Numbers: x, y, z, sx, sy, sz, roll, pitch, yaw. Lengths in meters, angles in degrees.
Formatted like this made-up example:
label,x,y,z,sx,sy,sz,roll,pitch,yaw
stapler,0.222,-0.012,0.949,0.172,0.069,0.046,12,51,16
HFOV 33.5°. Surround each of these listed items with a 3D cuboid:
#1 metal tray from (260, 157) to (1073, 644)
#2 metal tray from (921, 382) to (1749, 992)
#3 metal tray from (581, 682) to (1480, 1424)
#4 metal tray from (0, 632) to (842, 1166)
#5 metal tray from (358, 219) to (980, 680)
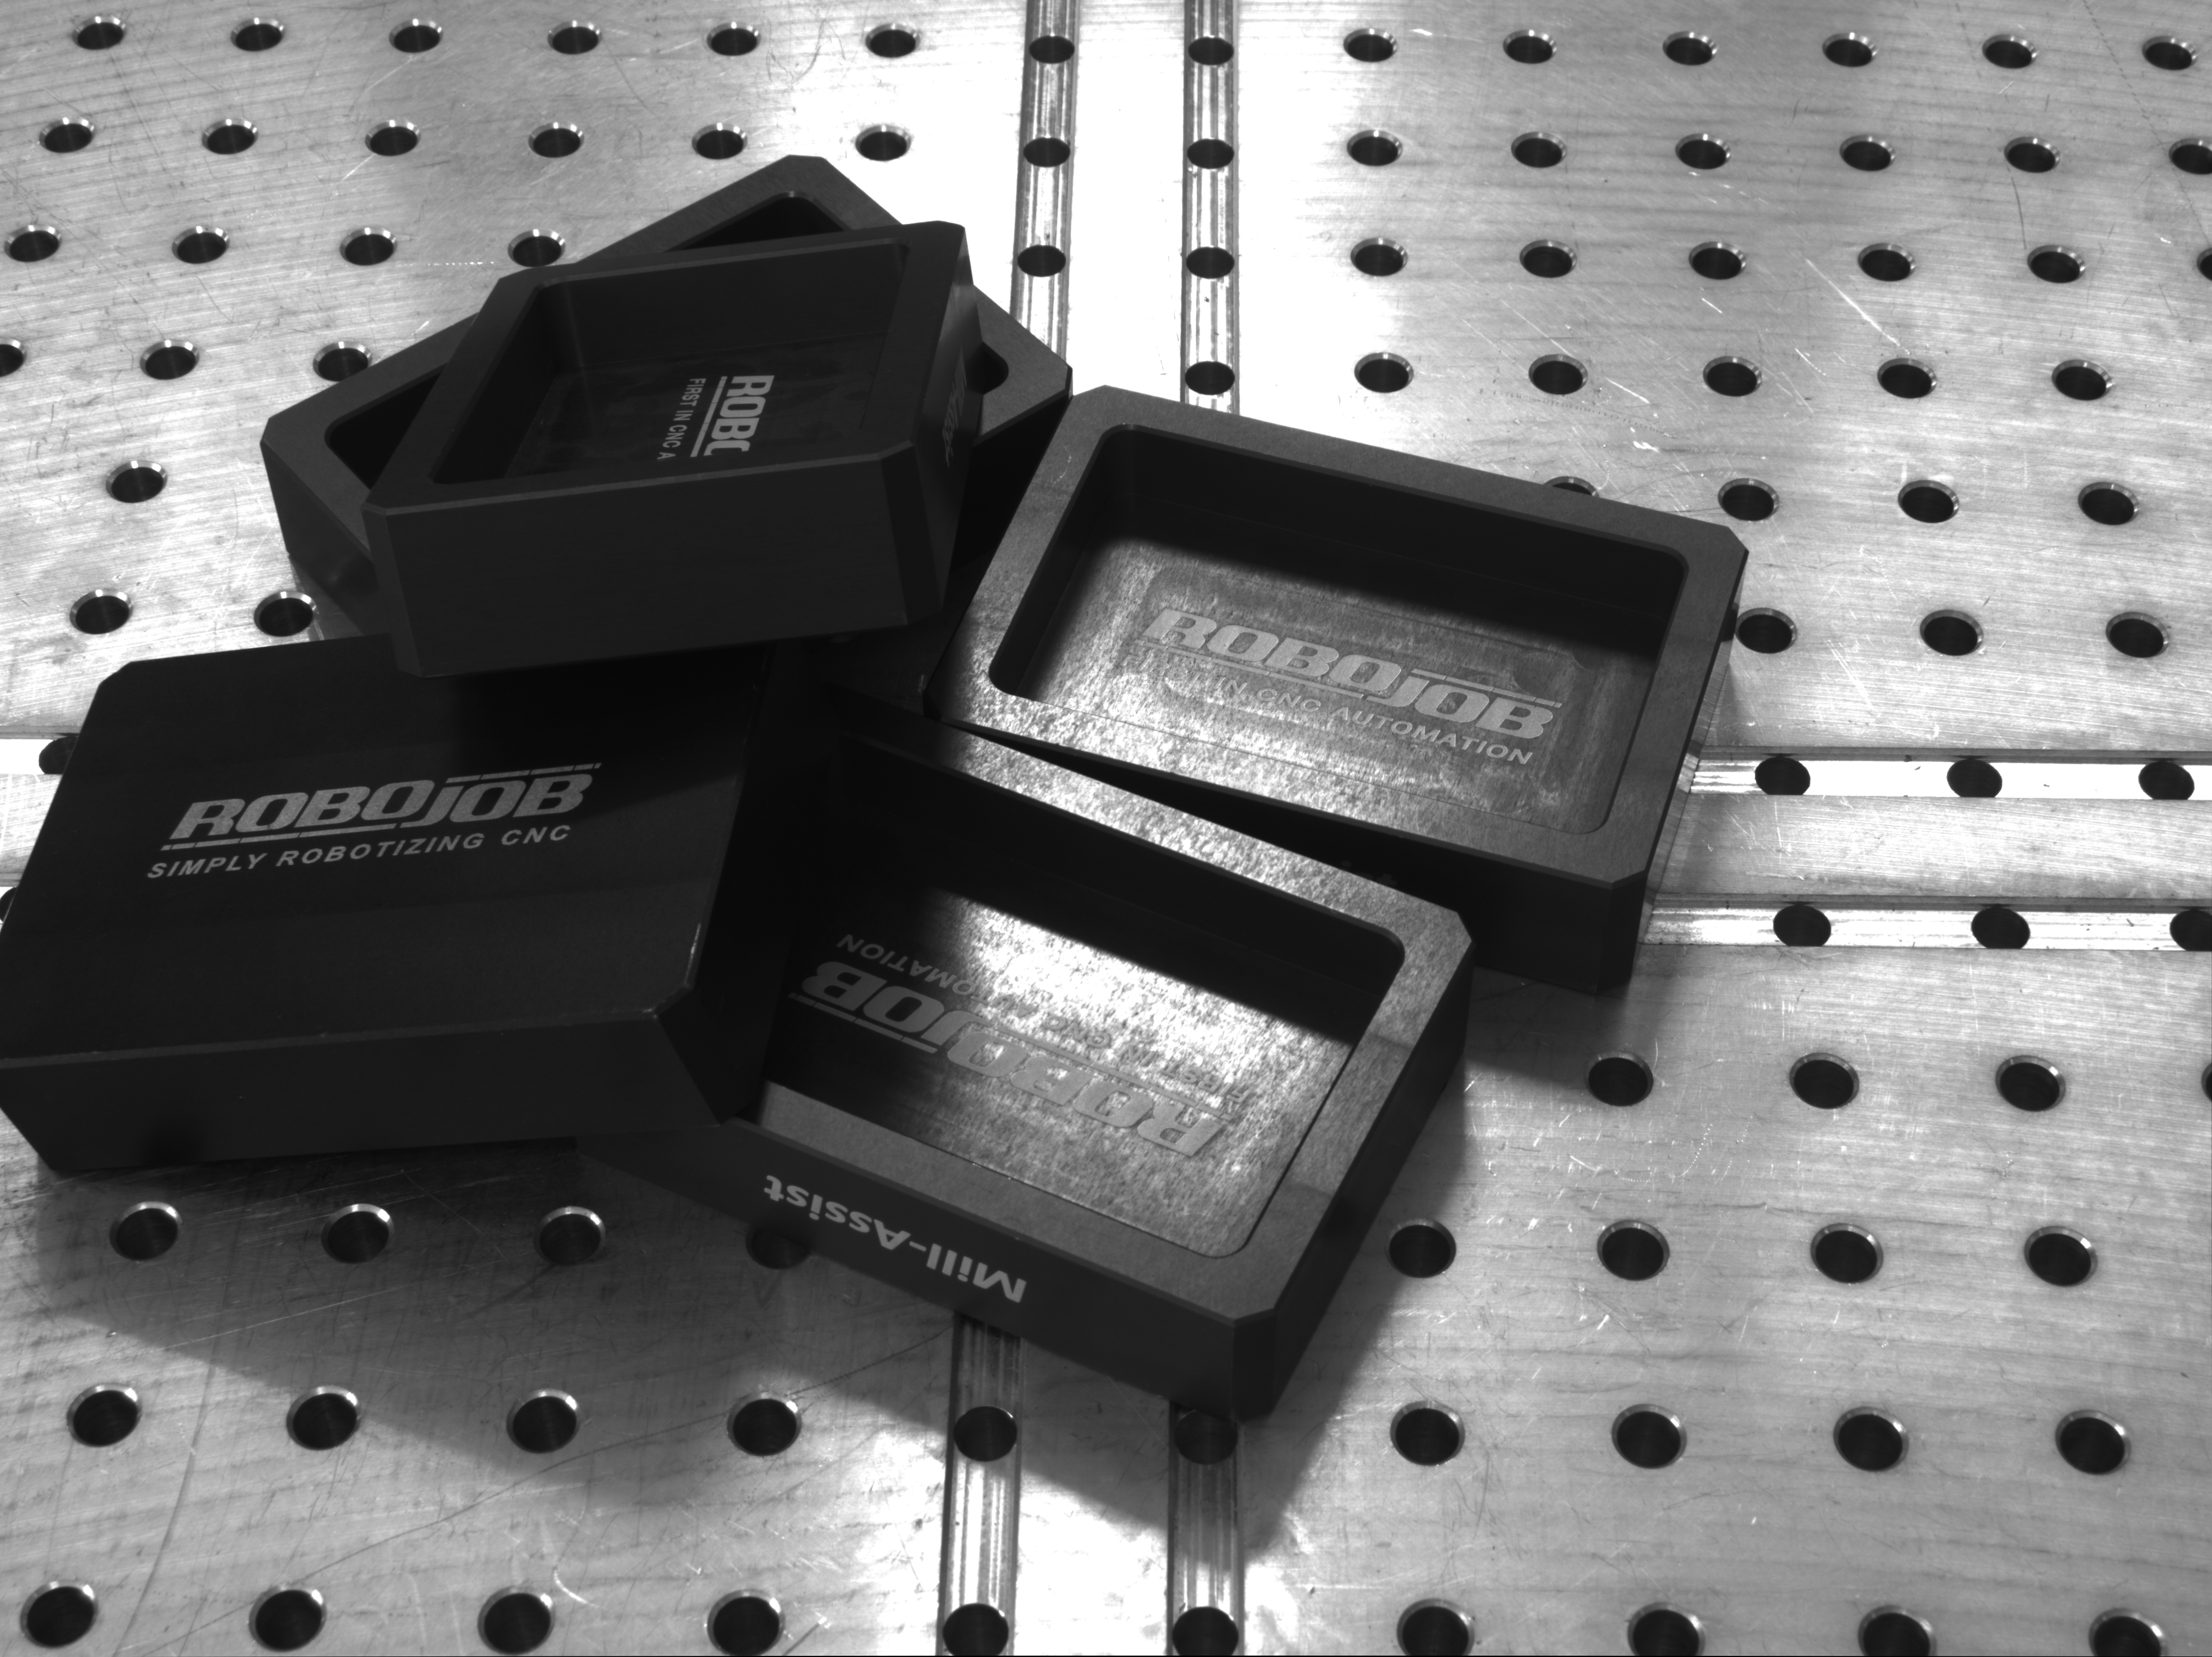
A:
label,x,y,z,sx,sy,sz,roll,pitch,yaw
metal tray,-0.082,-0.070,0.701,0.130,0.030,0.090,-32,56,-24
metal tray,0.042,-0.028,0.664,0.130,0.030,0.090,14,52,12
metal tray,-0.014,0.034,0.612,0.130,0.030,0.090,20,53,16
metal tray,-0.116,0.009,0.613,0.130,0.030,0.090,-4,49,16
metal tray,-0.072,-0.070,0.645,0.090,0.030,0.130,-6,25,5
